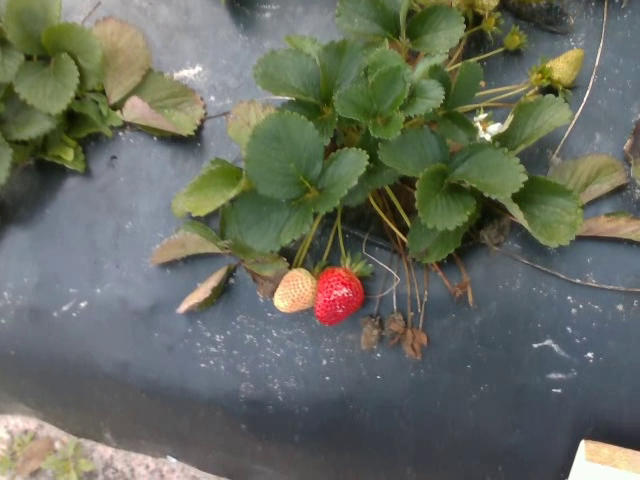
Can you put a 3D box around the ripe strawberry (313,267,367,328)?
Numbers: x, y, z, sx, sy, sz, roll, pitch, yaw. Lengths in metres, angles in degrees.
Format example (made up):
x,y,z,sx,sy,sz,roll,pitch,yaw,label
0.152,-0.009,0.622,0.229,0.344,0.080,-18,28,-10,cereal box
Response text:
x,y,z,sx,sy,sz,roll,pitch,yaw,label
0.010,0.036,0.359,0.034,0.041,0.033,39,-31,1,ripe strawberry
